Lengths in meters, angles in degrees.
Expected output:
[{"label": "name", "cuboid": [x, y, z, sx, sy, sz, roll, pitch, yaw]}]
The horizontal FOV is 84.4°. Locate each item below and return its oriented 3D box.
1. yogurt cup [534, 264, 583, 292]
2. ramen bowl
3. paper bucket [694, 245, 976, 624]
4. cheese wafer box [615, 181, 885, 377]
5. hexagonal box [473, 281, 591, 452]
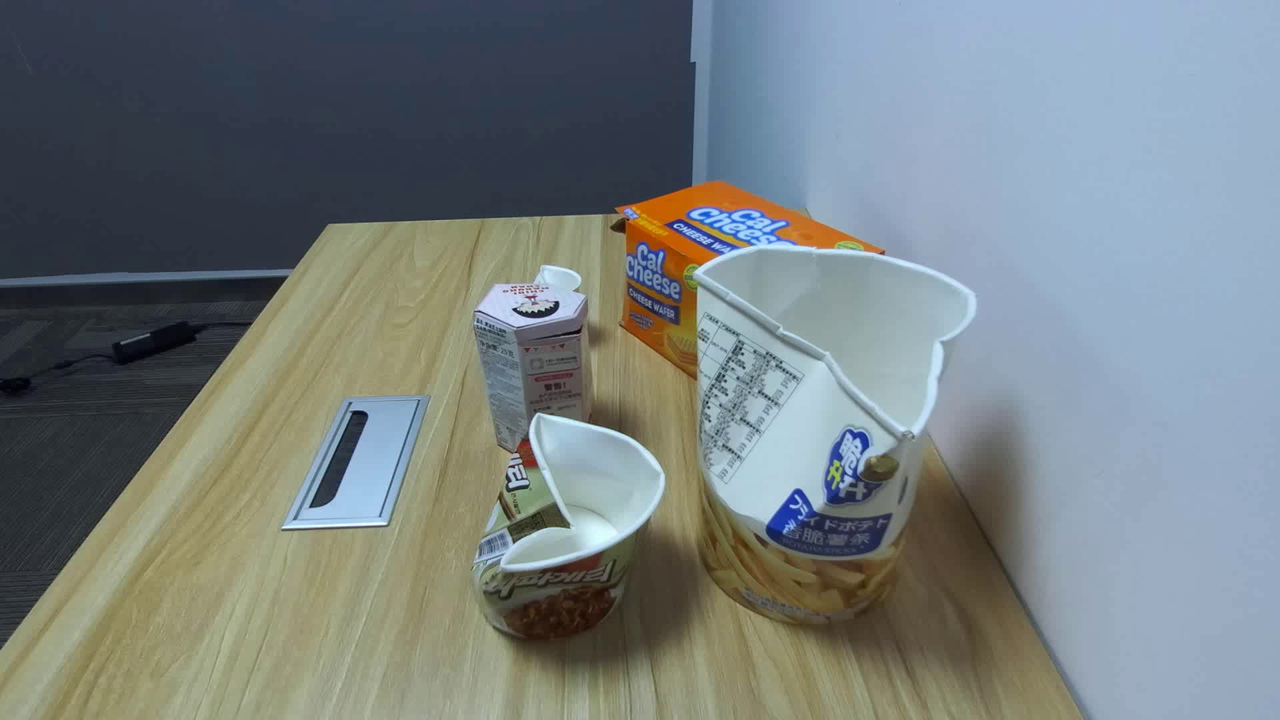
[{"label": "yogurt cup", "cuboid": [-0.092, -0.050, 0.712, 0.067, 0.070, 0.067, 0, 32, 0]}, {"label": "ramen bowl", "cuboid": [-0.053, 0.115, 0.467, 0.137, 0.098, 0.137, -1, 39, 1]}, {"label": "paper bucket", "cuboid": [0.104, 0.049, 0.466, 0.162, 0.202, 0.169, 17, 37, 26]}, {"label": "cheese wafer box", "cuboid": [0.095, -0.071, 0.688, 0.150, 0.137, 0.226, -25, 42, -28]}, {"label": "hexagonal box", "cuboid": [-0.082, 0.009, 0.581, 0.092, 0.135, 0.084, -13, 36, -15]}]
